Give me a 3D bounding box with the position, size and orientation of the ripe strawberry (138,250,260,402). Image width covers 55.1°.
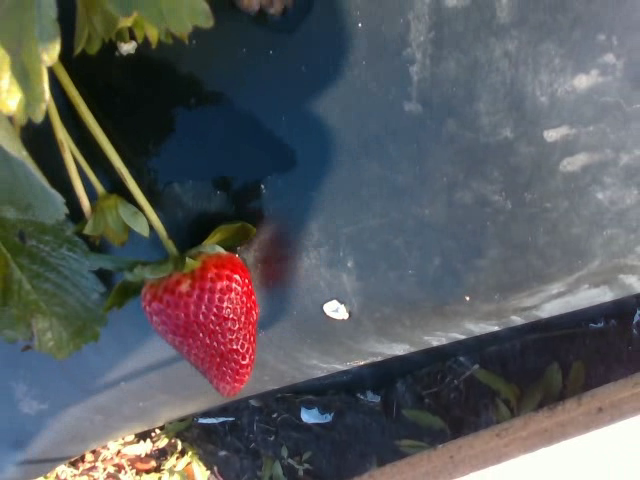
[{"bbox_3d":[-0.037,0.029,0.200,0.045,0.055,0.041,-22,-3,10],"label":"ripe strawberry"}]
